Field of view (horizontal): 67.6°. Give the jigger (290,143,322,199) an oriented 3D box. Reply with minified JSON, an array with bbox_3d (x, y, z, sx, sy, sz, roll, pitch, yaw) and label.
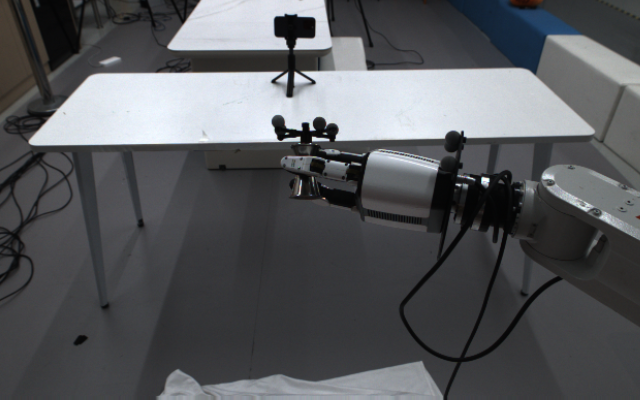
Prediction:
[{"bbox_3d":[-0.019,-0.036,0.626,0.043,0.071,0.043,1,-5,0],"label":"jigger"}]
